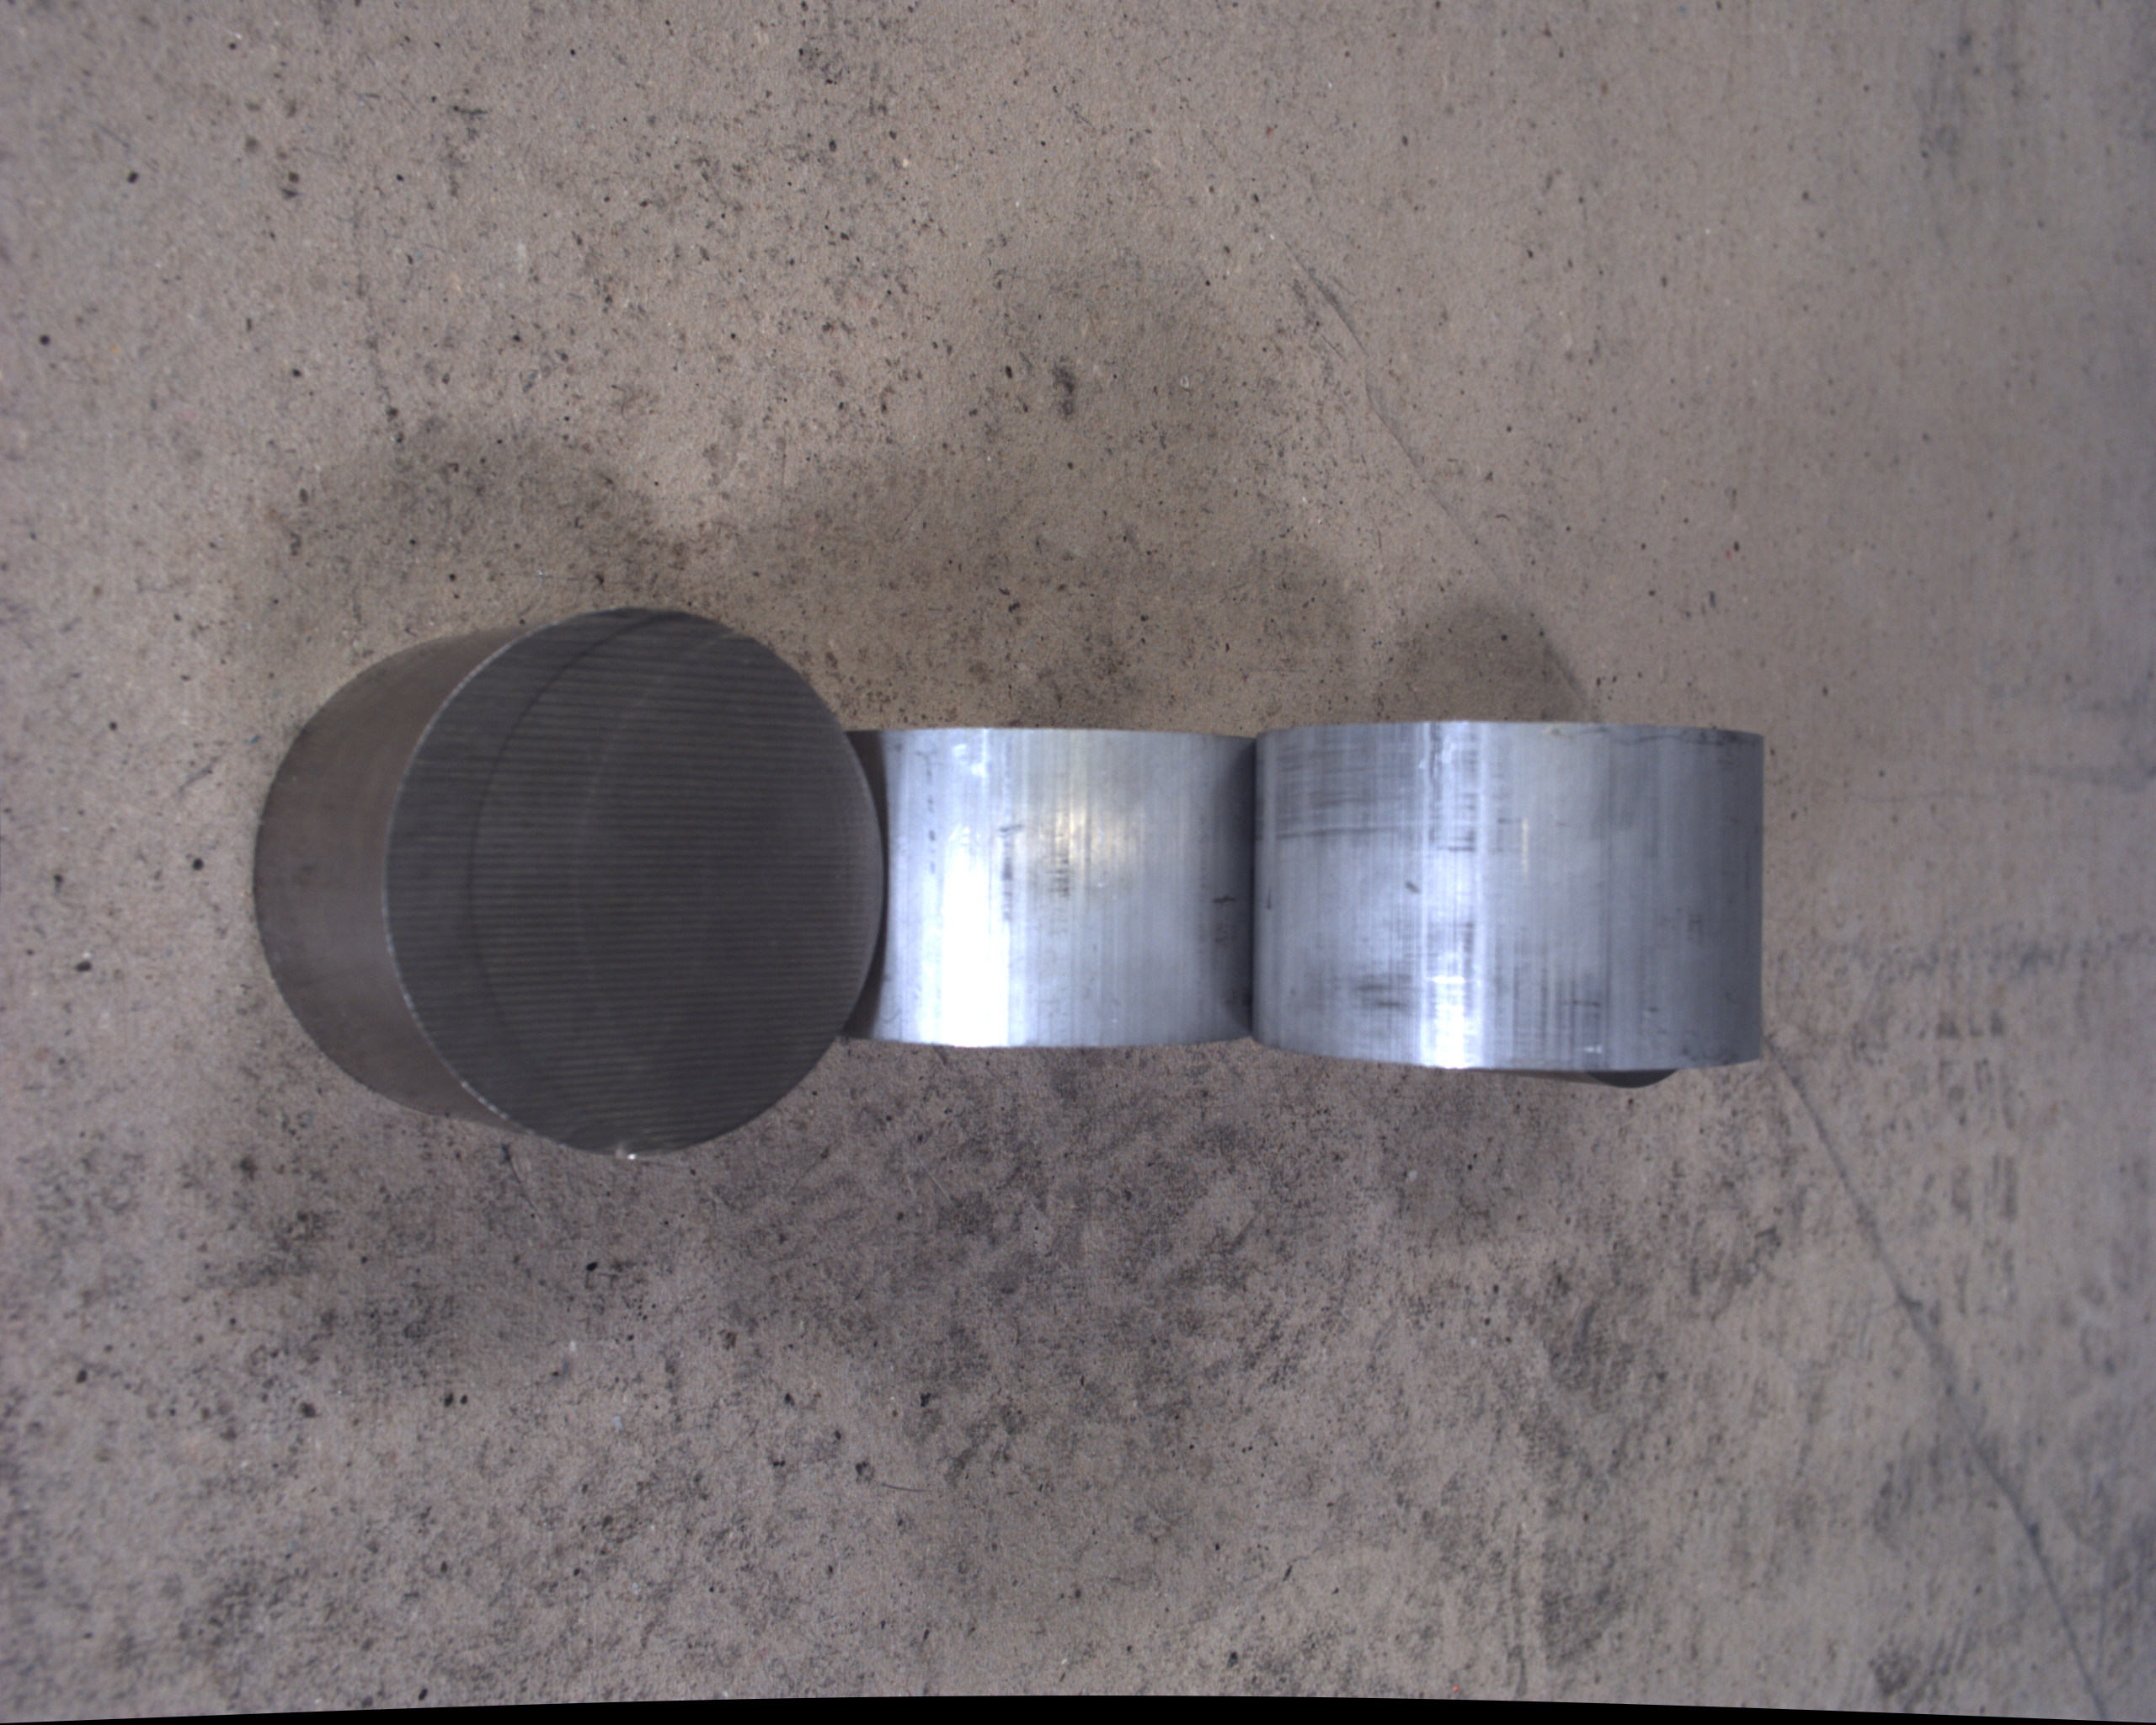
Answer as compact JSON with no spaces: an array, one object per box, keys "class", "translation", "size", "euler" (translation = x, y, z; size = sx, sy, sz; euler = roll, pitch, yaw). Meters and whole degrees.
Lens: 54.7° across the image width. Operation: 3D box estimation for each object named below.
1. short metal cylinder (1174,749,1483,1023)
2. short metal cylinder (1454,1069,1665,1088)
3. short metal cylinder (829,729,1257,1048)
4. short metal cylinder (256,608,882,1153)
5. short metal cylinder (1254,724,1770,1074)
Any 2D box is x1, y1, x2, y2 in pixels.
[{"class":"short metal cylinder","translation":[0.055,0.005,0.417],"size":[0.081,0.080,0.050],"euler":[0,89,-40]},{"class":"short metal cylinder","translation":[0.108,0.010,0.479],"size":[0.081,0.050,0.080],"euler":[-1,91,-40]},{"class":"short metal cylinder","translation":[-0.006,0.004,0.365],"size":[0.081,0.080,0.050],"euler":[0,90,-40]},{"class":"short metal cylinder","translation":[-0.078,0.002,0.324],"size":[0.081,0.050,0.080],"euler":[0,91,-40]},{"class":"short metal cylinder","translation":[0.069,0.005,0.338],"size":[0.081,0.080,0.050],"euler":[1,91,-40]}]
